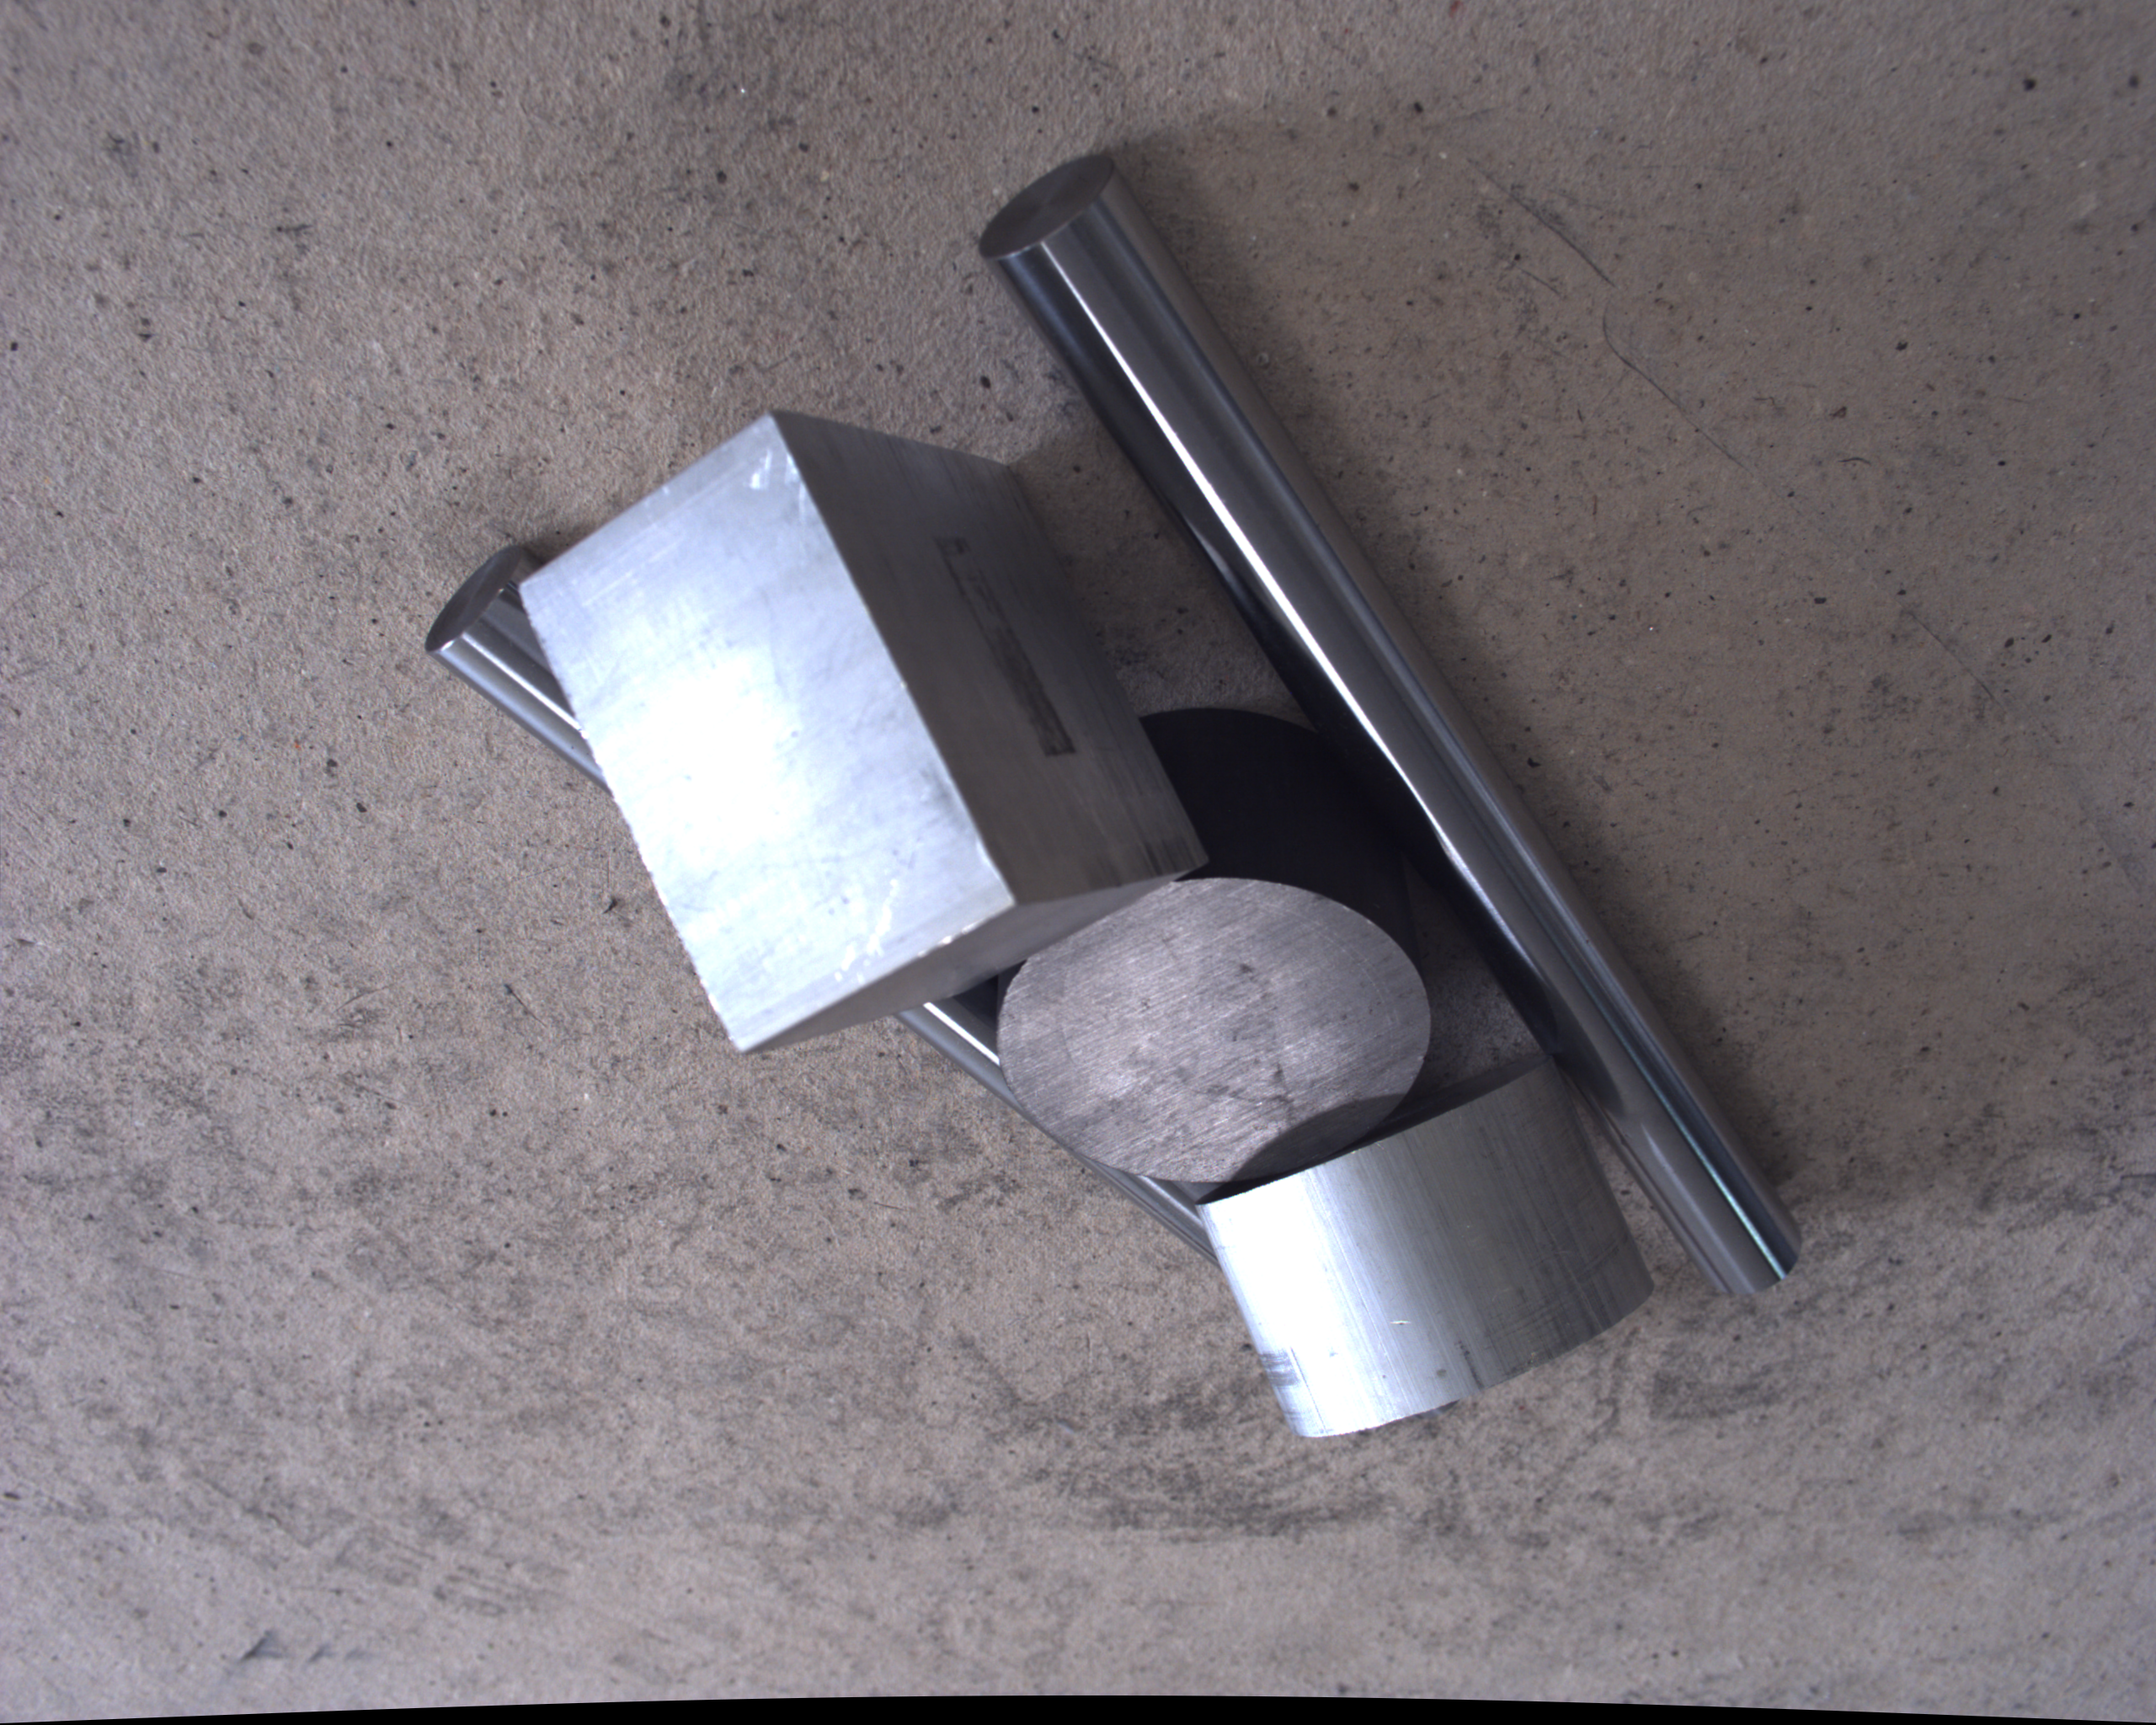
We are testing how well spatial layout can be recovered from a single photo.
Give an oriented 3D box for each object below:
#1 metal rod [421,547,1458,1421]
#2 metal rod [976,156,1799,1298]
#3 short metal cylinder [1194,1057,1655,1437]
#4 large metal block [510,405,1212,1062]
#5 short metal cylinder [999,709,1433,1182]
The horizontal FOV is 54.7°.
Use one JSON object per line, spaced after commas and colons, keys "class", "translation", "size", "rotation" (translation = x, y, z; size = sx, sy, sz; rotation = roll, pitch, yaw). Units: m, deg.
{"class": "metal rod", "translation": [-0.010, 0.040, 0.442], "size": [0.025, 0.025, 0.300], "rotation": [-33, 123, 25]}
{"class": "metal rod", "translation": [0.075, -0.005, 0.404], "size": [0.025, 0.025, 0.300], "rotation": [-26, 126, 20]}
{"class": "short metal cylinder", "translation": [0.071, 0.078, 0.432], "size": [0.080, 0.080, 0.050], "rotation": [-25, 84, 19]}
{"class": "large metal block", "translation": [-0.031, -0.021, 0.334], "size": [0.050, 0.080, 0.080], "rotation": [-30, 83, 22]}
{"class": "short metal cylinder", "translation": [0.026, 0.017, 0.407], "size": [0.081, 0.050, 0.079], "rotation": [0, 130, 0]}
